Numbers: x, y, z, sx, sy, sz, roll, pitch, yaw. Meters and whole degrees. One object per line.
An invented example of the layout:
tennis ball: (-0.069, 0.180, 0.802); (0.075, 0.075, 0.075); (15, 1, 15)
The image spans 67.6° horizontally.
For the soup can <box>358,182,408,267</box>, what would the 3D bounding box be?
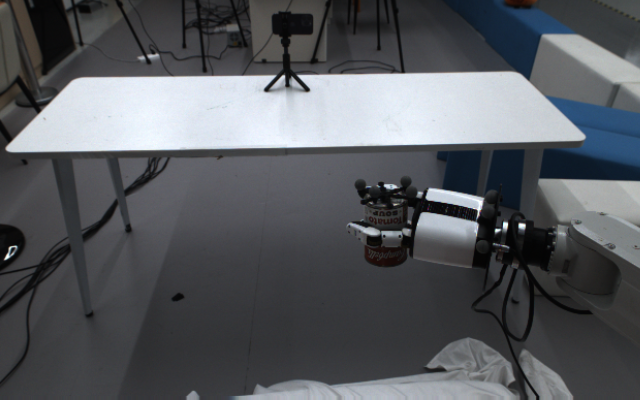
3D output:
soup can: (0.101, 0.041, 0.738); (0.067, 0.101, 0.067); (-3, 26, 2)
